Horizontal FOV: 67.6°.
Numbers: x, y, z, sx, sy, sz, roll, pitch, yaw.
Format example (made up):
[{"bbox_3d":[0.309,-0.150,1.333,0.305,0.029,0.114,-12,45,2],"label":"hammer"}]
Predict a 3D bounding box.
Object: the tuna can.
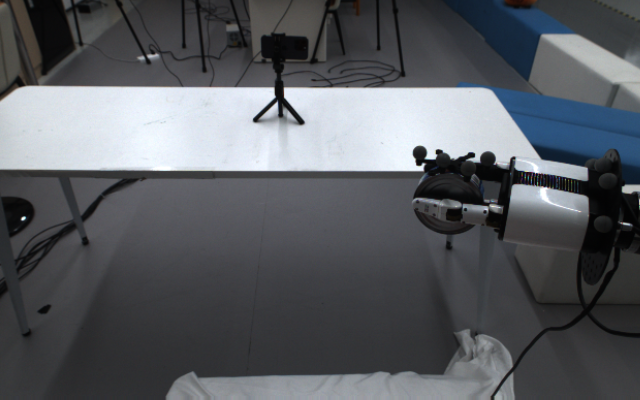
[{"bbox_3d":[0.165,-0.005,0.612,0.085,0.085,0.034,13,30,15],"label":"tuna can"}]
